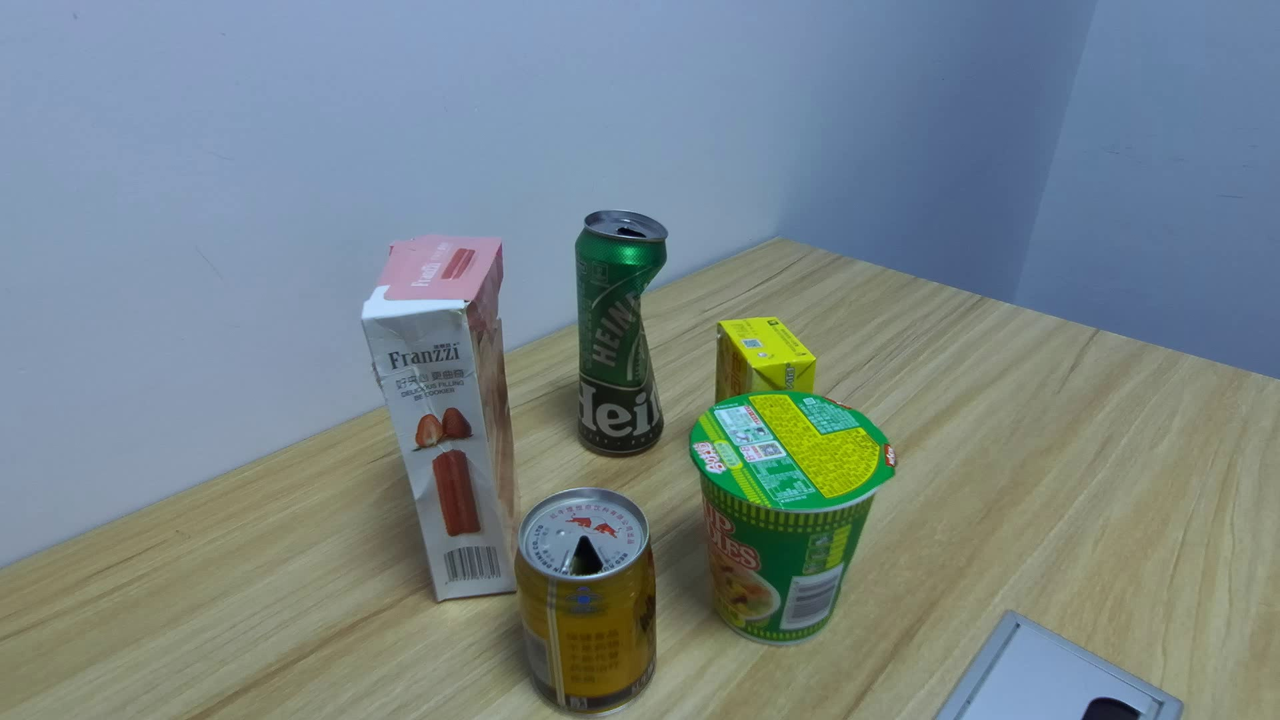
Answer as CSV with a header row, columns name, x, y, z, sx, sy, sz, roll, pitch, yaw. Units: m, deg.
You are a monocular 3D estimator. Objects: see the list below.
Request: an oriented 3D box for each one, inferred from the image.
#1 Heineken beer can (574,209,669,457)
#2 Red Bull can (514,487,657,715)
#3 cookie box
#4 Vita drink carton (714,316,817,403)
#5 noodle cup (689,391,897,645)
name,x,y,z,sx,sy,sz,roll,pitch,yaw
Heineken beer can,-0.011,-0.015,0.495,0.069,0.168,0.069,27,37,36
Red Bull can,-0.025,0.116,0.344,0.068,0.093,0.068,-1,30,1
cookie box,-0.102,0.035,0.394,0.059,0.186,0.105,-2,29,-4
Vita drink carton,0.077,0.032,0.466,0.043,0.109,0.076,-8,31,-13
noodle cup,0.074,0.087,0.369,0.097,0.110,0.097,-1,30,1
